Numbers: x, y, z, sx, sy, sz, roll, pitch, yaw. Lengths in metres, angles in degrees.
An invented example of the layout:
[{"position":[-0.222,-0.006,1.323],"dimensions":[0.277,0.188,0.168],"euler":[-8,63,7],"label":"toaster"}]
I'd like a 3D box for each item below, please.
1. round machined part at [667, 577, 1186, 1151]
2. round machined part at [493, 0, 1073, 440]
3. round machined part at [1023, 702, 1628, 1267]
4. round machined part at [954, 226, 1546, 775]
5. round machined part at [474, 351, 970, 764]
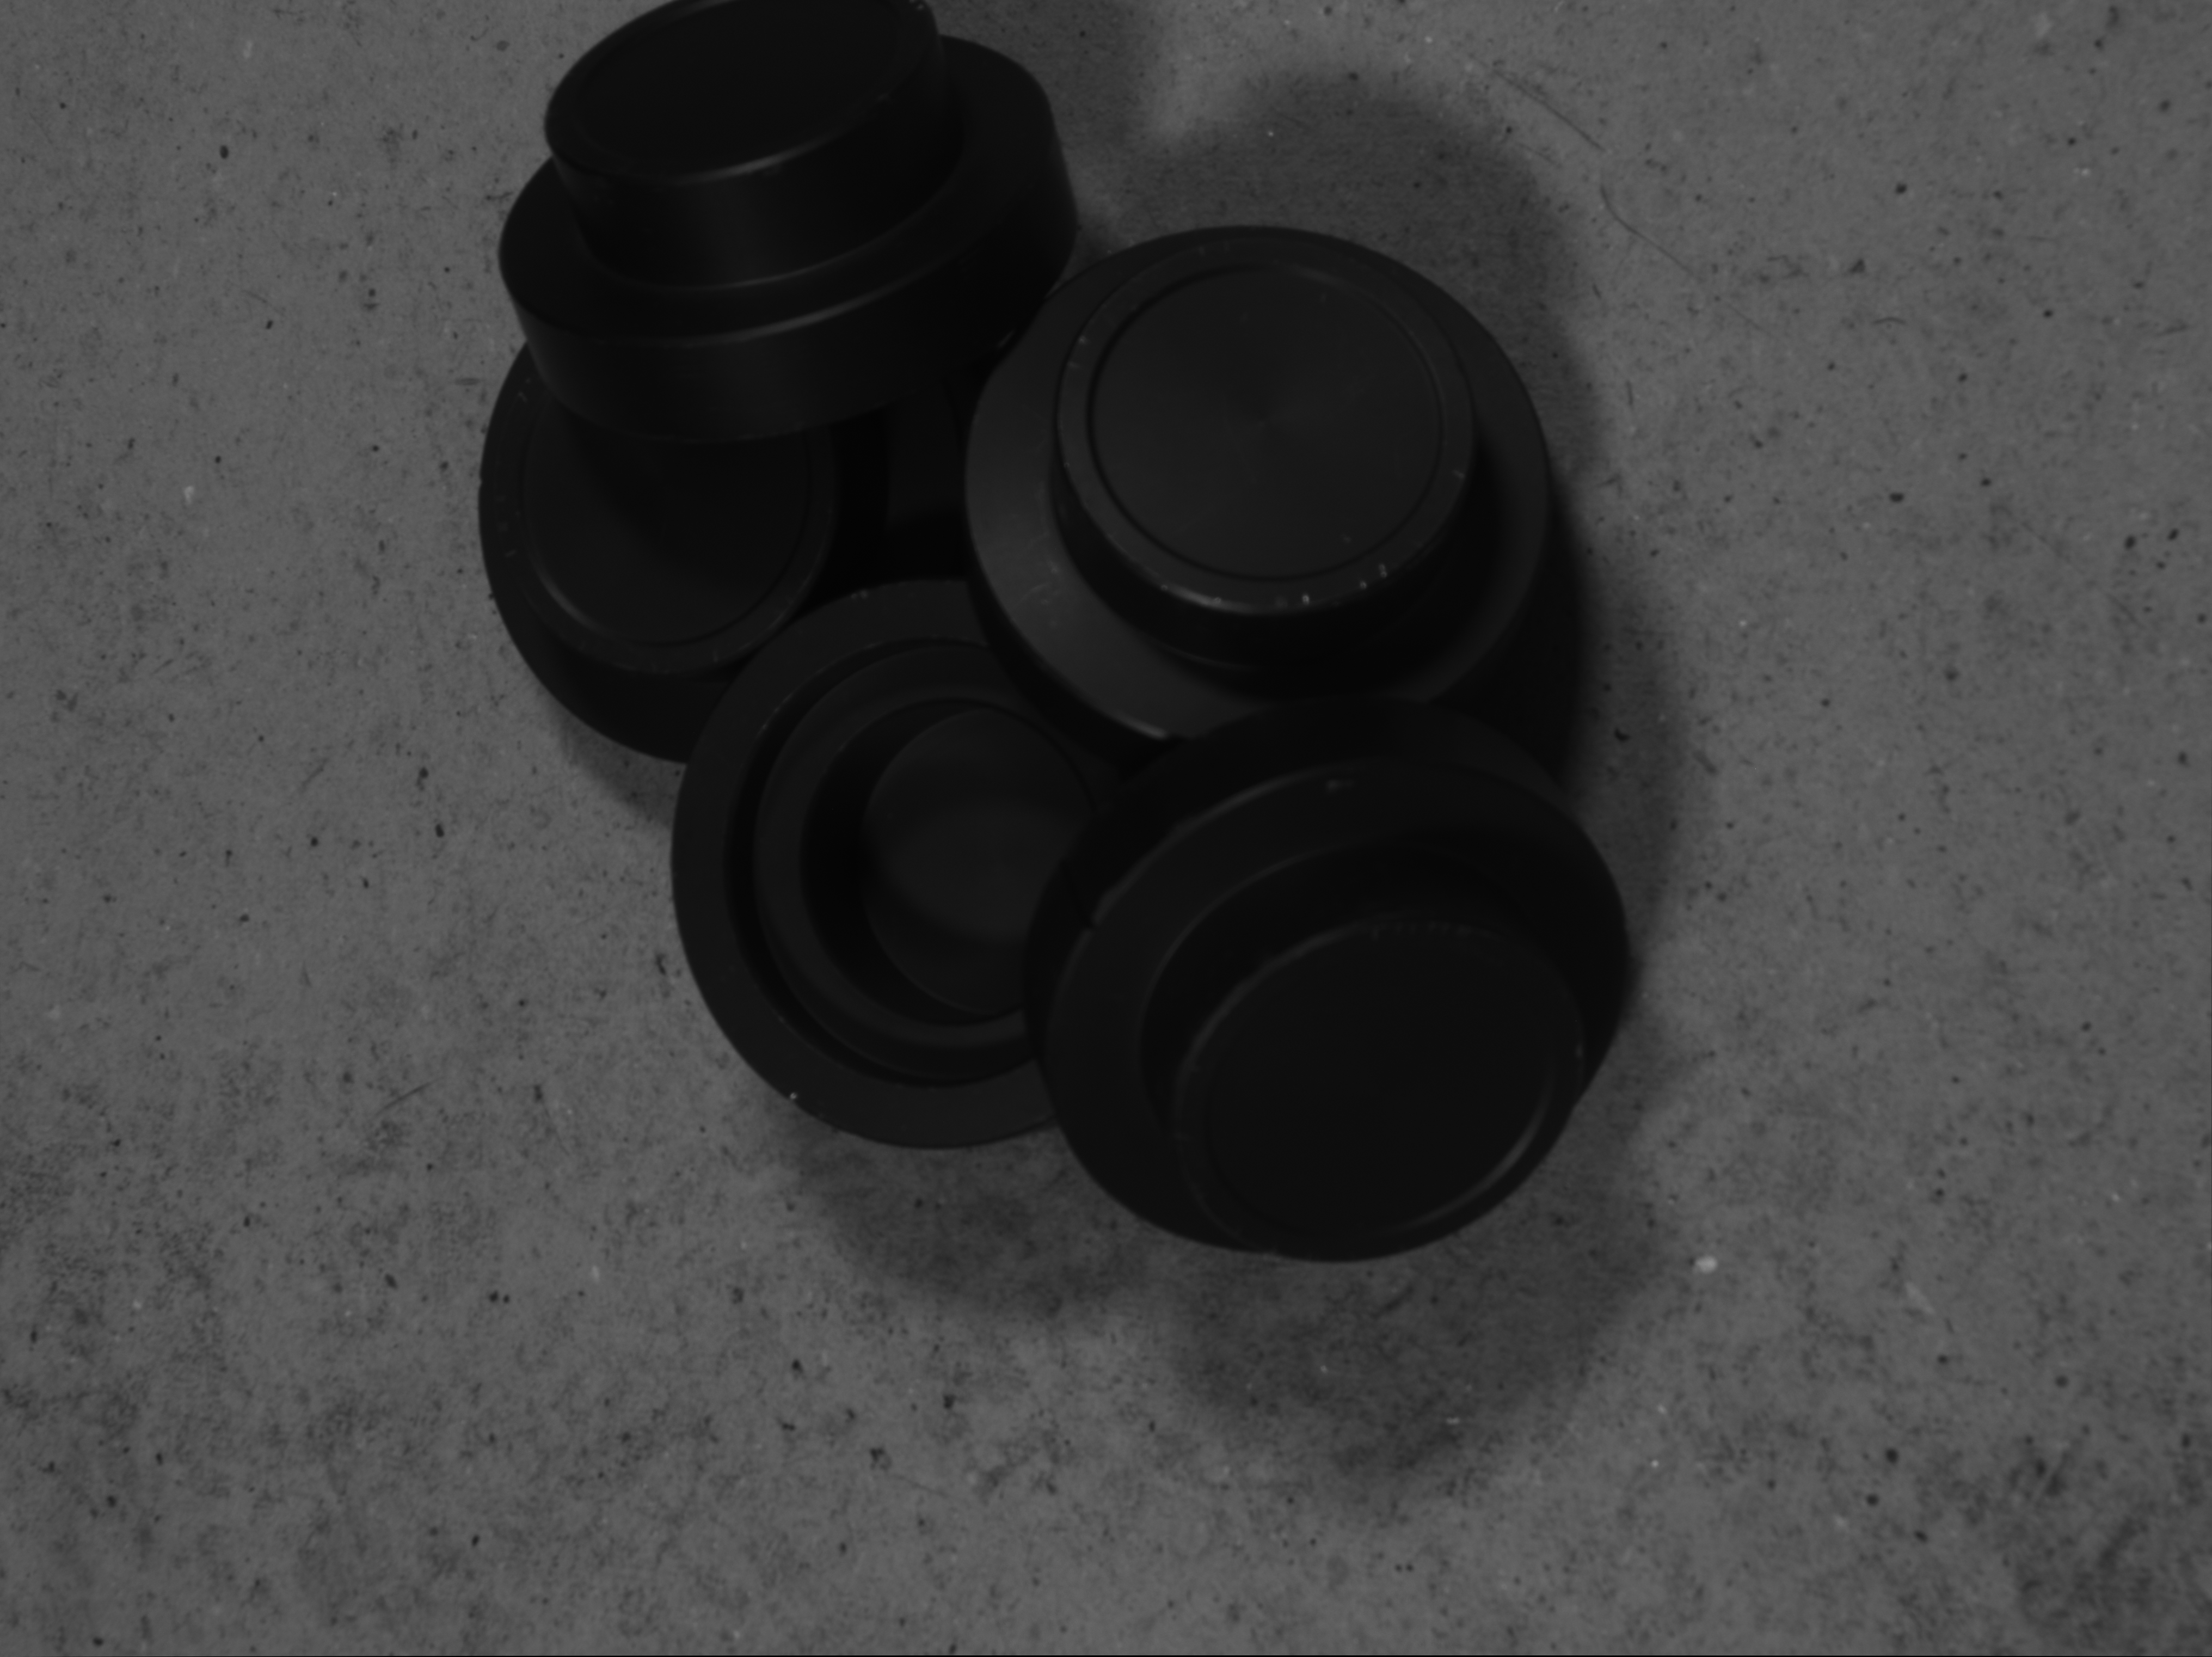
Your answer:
[{"position":[-0.024,0.006,0.644],"dimensions":[0.098,0.042,0.098],"euler":[0,90,20],"label":"round machined part"},{"position":[-0.058,-0.112,0.625],"dimensions":[0.098,0.098,0.042],"euler":[1,132,20],"label":"round machined part"},{"position":[0.039,0.032,0.592],"dimensions":[0.098,0.098,0.042],"euler":[-45,35,14],"label":"round machined part"},{"position":[0.024,-0.058,0.604],"dimensions":[0.098,0.042,0.098],"euler":[1,68,-2],"label":"round machined part"},{"position":[-0.072,-0.060,0.662],"dimensions":[0.098,0.042,0.098],"euler":[0,90,20],"label":"round machined part"}]
